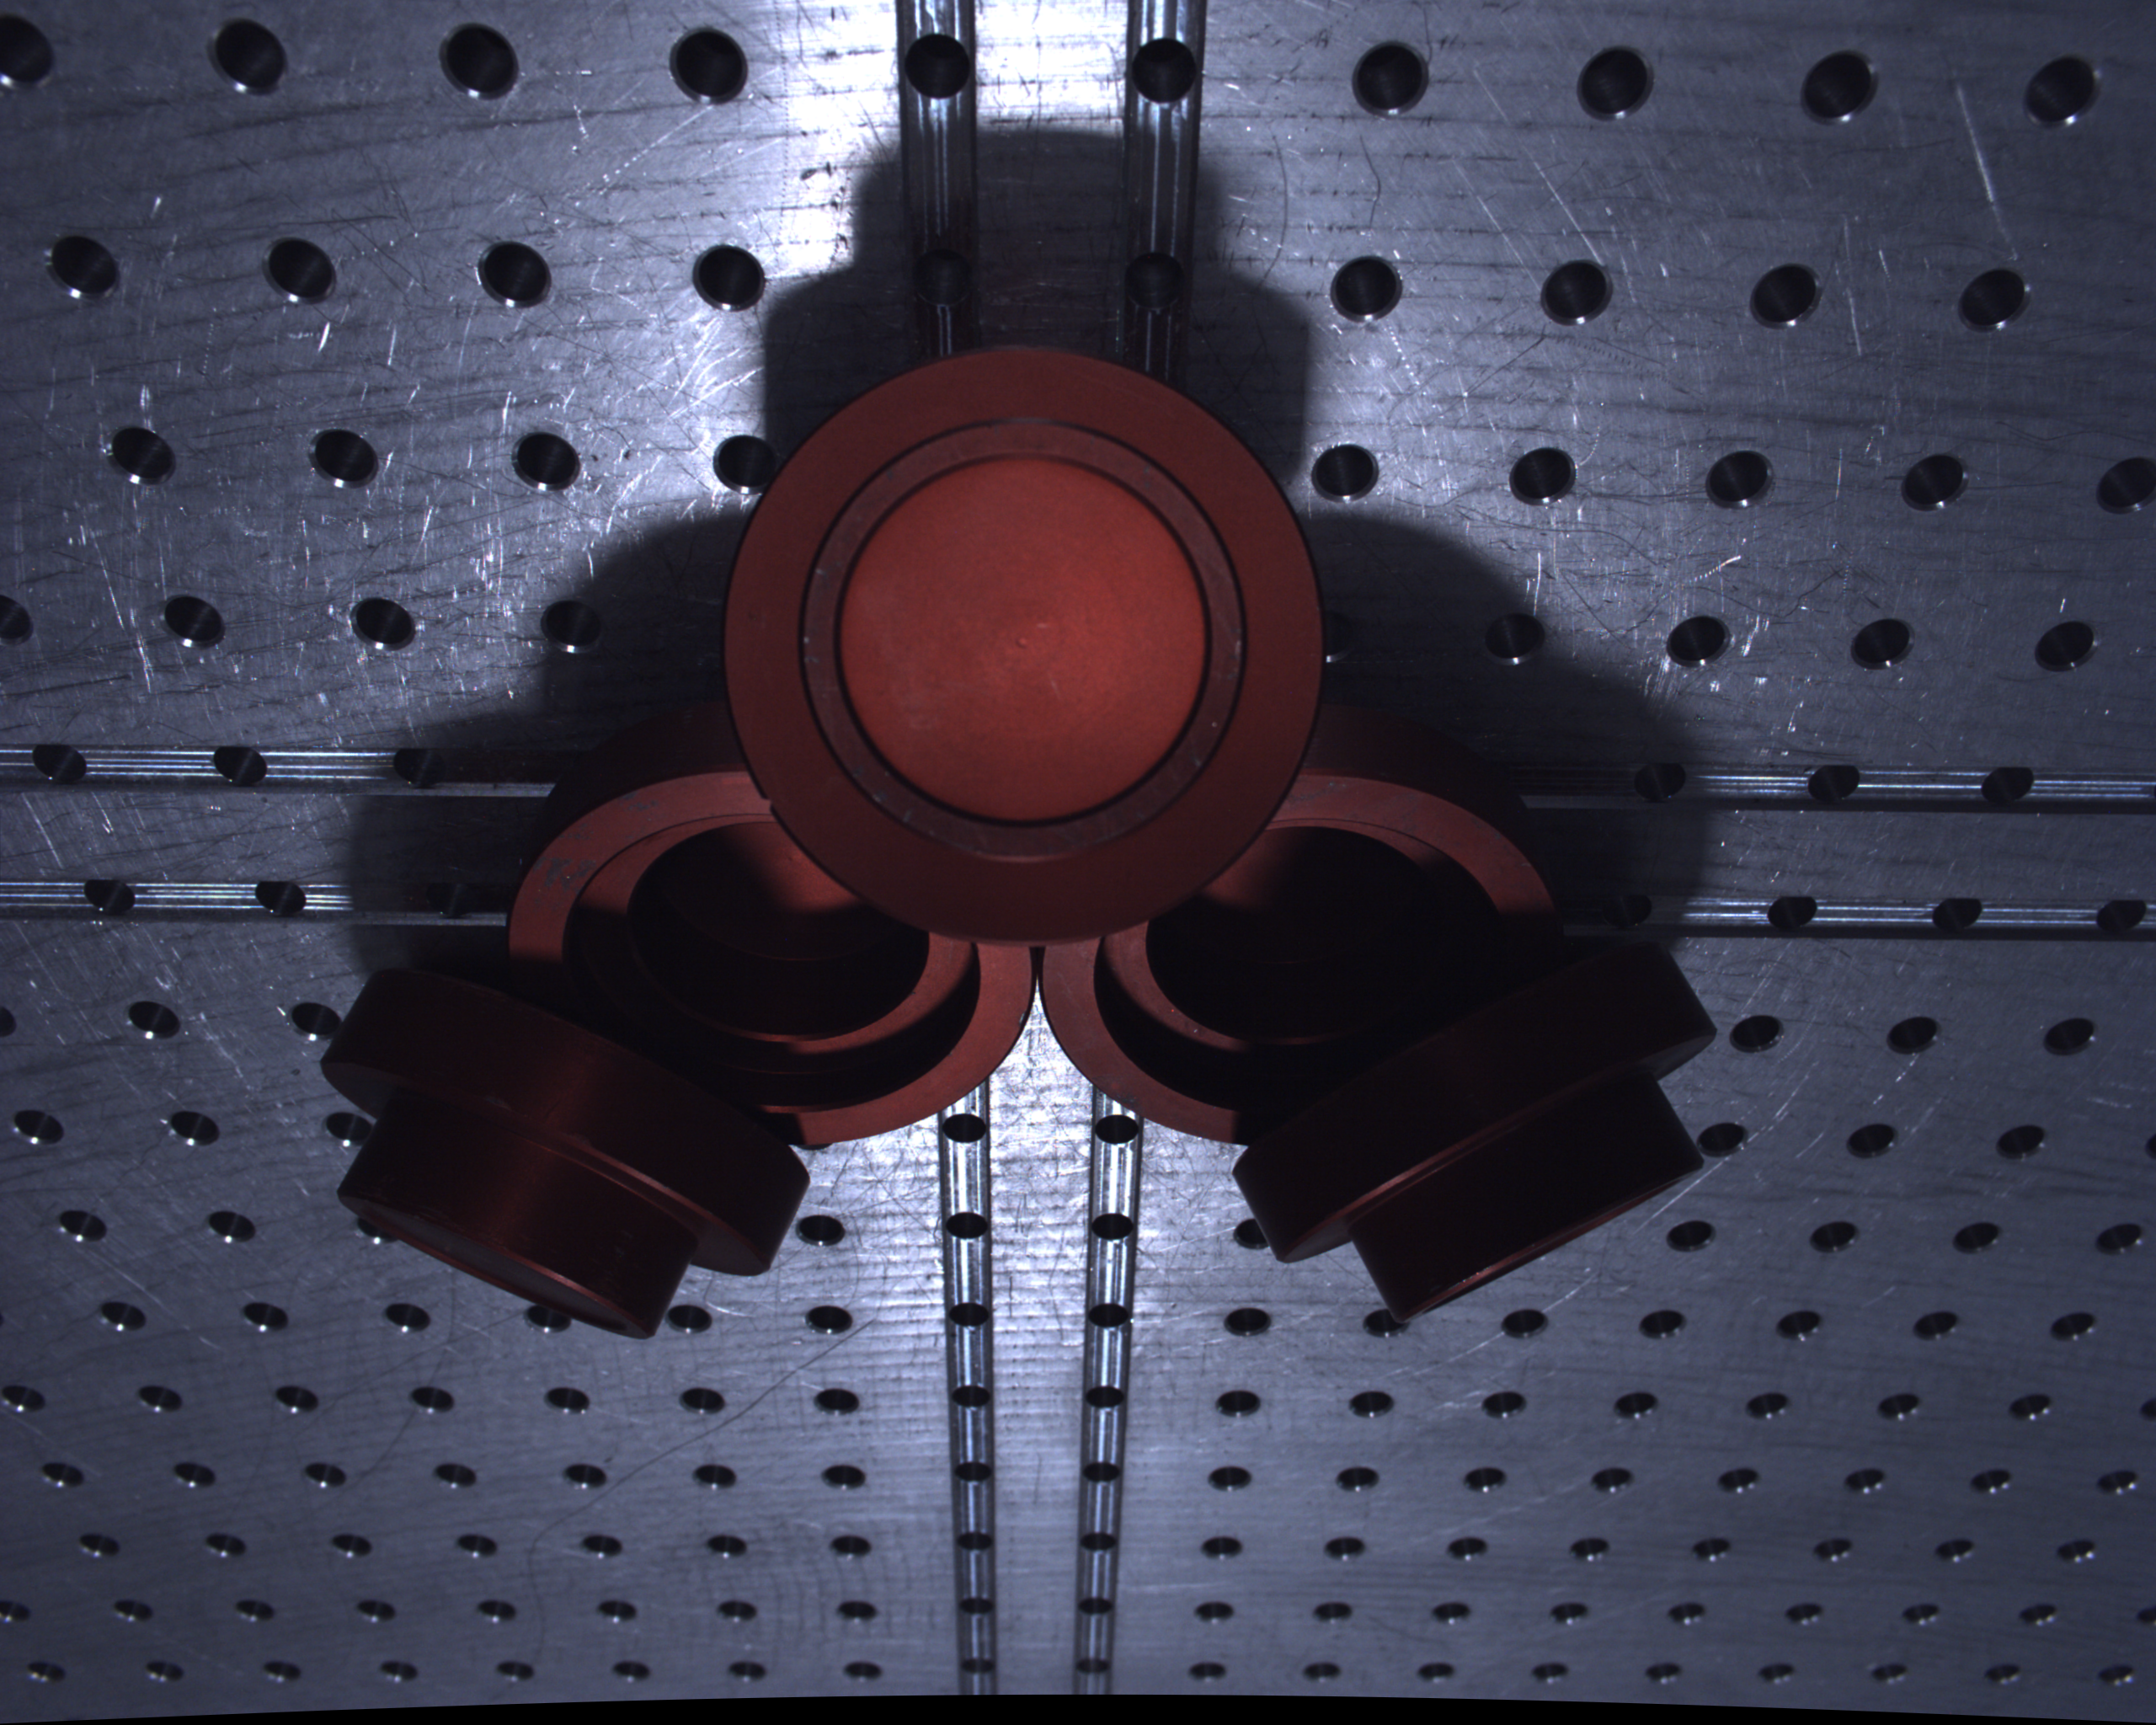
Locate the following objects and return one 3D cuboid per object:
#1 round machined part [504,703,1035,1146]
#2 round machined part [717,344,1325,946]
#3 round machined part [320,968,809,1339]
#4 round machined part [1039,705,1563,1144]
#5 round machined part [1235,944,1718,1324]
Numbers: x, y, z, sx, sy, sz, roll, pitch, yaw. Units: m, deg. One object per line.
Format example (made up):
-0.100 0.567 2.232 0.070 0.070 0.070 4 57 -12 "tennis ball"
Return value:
-0.057 0.007 0.405 0.099 0.042 0.097 -1 130 0 "round machined part"
-0.009 -0.035 0.337 0.099 0.042 0.097 0 92 -1 "round machined part"
-0.108 0.063 0.422 0.098 0.042 0.098 20 158 9 "round machined part"
0.042 0.008 0.408 0.099 0.042 0.097 -1 130 0 "round machined part"
0.084 0.058 0.416 0.099 0.042 0.098 -24 162 -8 "round machined part"
